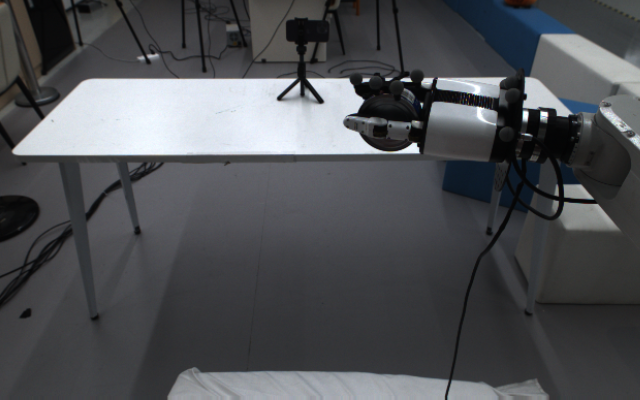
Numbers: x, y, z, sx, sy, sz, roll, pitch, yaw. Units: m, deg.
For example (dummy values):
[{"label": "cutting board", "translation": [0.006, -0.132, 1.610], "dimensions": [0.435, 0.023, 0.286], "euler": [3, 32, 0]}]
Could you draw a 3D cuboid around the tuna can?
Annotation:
[{"label": "tuna can", "translation": [0.098, -0.107, 0.654], "dimensions": [0.085, 0.085, 0.034], "euler": [12, 39, 13]}]
